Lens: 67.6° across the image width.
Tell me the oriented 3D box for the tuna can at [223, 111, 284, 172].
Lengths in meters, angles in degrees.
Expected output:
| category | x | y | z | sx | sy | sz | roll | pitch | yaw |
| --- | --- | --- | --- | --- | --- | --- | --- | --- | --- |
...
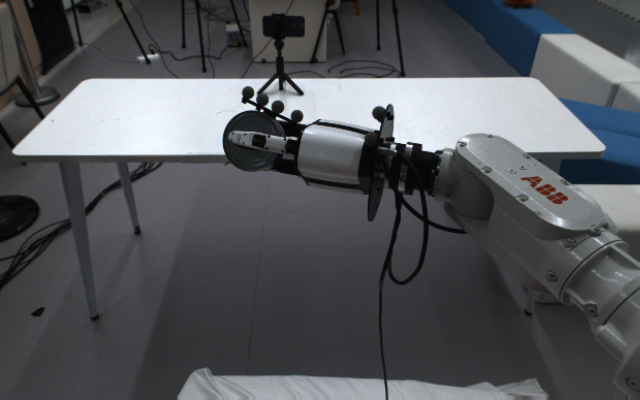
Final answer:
| category | x | y | z | sx | sy | sz | roll | pitch | yaw |
| --- | --- | --- | --- | --- | --- | --- | --- | --- | --- |
| tuna can | -0.092 | -0.082 | 0.691 | 0.085 | 0.085 | 0.034 | 10 | 4 | 11 |
